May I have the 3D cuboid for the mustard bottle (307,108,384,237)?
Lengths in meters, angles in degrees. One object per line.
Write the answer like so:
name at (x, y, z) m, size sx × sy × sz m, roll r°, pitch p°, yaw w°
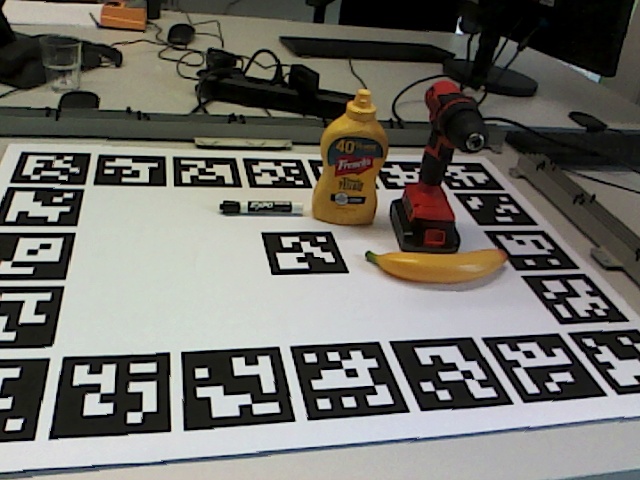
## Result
mustard bottle at (0.040, -0.097, 0.885) m, size 0.096 × 0.191 × 0.058 m, roll 7°, pitch 34°, yaw -5°

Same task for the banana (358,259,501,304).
banana at (0.152, 0.055, 0.830) m, size 0.197 × 0.039 × 0.074 m, roll 3°, pitch 36°, yaw -6°

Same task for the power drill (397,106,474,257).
power drill at (0.157, -0.074, 0.848) m, size 0.057 × 0.187 × 0.185 m, roll 9°, pitch 32°, yaw -4°

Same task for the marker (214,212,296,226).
marker at (-0.096, -0.031, 0.912) m, size 0.121 × 0.019 × 0.020 m, roll 1°, pitch 36°, yaw -12°
